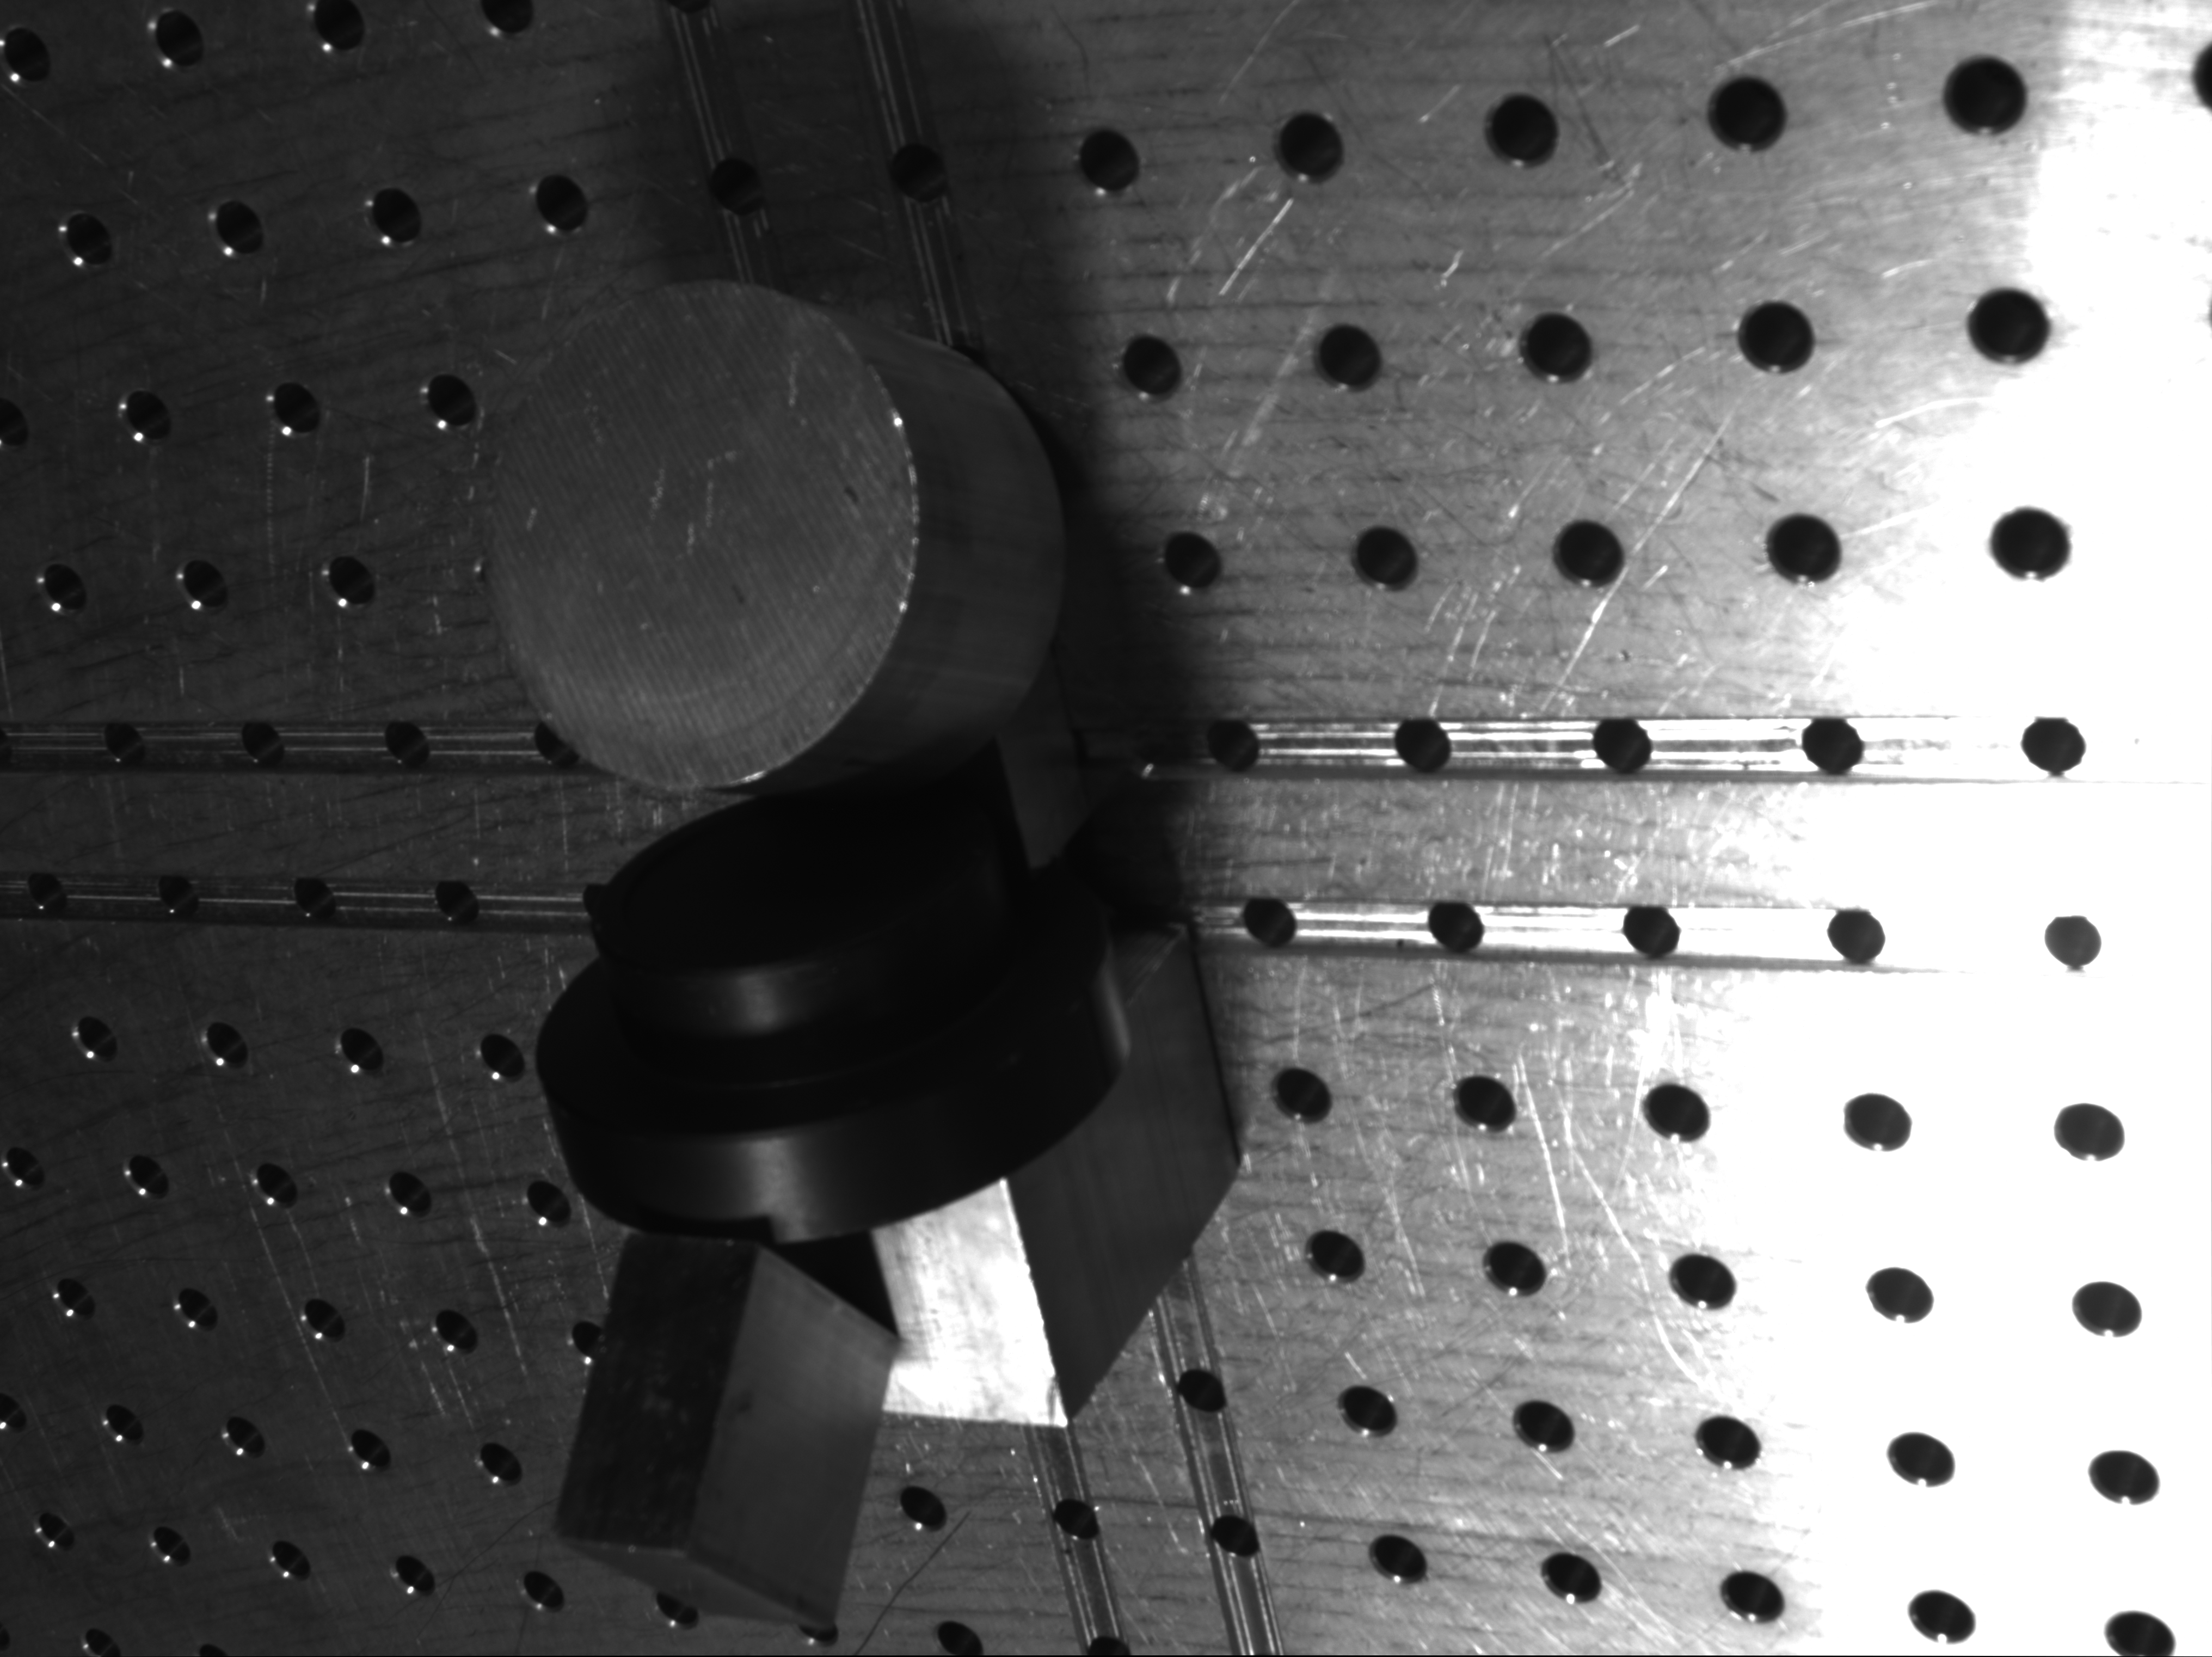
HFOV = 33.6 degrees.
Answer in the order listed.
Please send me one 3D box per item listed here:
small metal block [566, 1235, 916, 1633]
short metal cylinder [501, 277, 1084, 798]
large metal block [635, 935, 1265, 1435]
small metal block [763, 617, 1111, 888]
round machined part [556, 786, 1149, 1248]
[{"bbox_3d":[-0.058,0.098,0.591,0.025,0.050,0.050,1,157,26],"label":"small metal block"},{"bbox_3d":[-0.051,-0.046,0.595,0.080,0.050,0.080,-1,88,26],"label":"short metal cylinder"},{"bbox_3d":[-0.028,0.060,0.648,0.080,0.080,0.050,1,119,26],"label":"large metal block"},{"bbox_3d":[-0.032,-0.018,0.638,0.050,0.025,0.050,1,119,26],"label":"small metal block"},{"bbox_3d":[-0.044,0.026,0.612,0.098,0.098,0.042,1,118,26],"label":"round machined part"}]
